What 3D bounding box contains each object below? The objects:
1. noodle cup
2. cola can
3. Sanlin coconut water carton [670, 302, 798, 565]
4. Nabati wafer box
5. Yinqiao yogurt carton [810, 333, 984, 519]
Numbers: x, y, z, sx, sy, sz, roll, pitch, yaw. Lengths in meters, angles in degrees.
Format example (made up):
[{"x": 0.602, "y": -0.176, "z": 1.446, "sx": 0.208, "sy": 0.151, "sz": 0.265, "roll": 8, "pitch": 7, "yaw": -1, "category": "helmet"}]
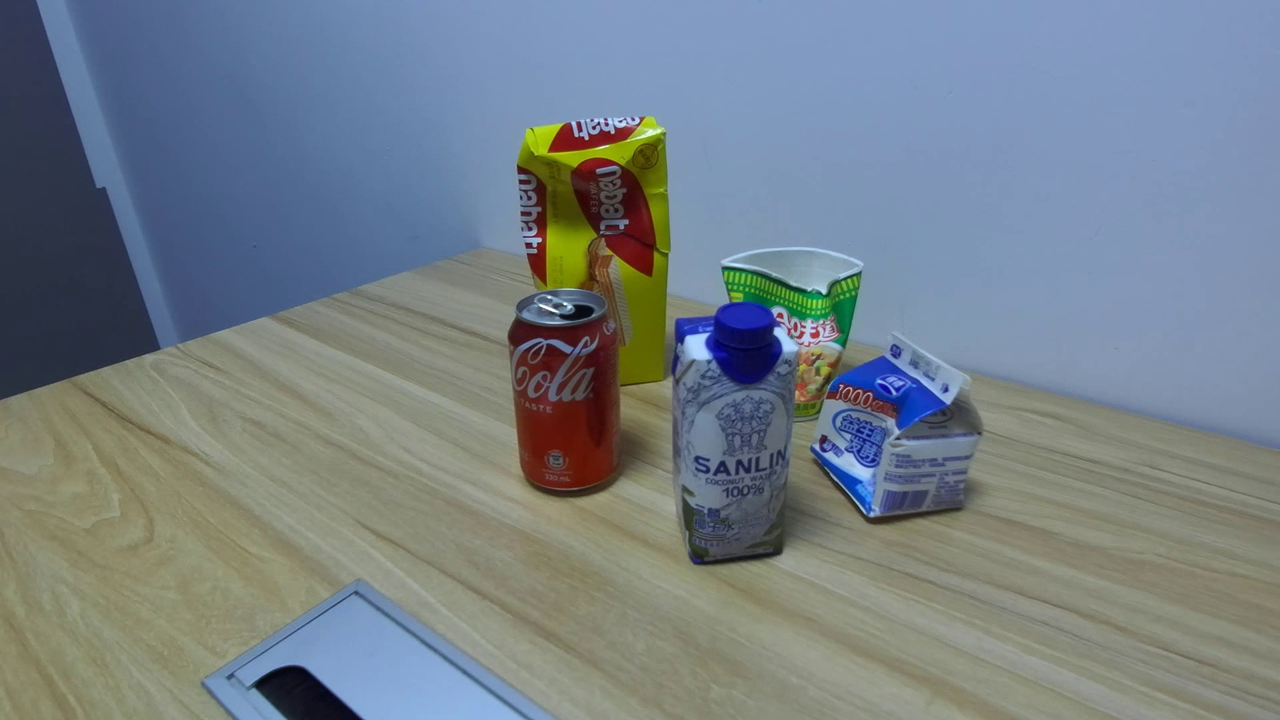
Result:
[{"x": 0.114, "y": -0.020, "z": 0.524, "sx": 0.082, "sy": 0.122, "sz": 0.075, "roll": 12, "pitch": 20, "yaw": 43, "category": "noodle cup"}, {"x": -0.046, "y": 0.019, "z": 0.443, "sx": 0.068, "sy": 0.120, "sz": 0.068, "roll": 0, "pitch": 27, "yaw": 0, "category": "cola can"}, {"x": 0.049, "y": 0.036, "z": 0.376, "sx": 0.061, "sy": 0.144, "sz": 0.060, "roll": -6, "pitch": 26, "yaw": -8, "category": "Sanlin coconut water carton"}, {"x": -0.032, "y": -0.075, "z": 0.534, "sx": 0.107, "sy": 0.204, "sz": 0.042, "roll": -6, "pitch": 27, "yaw": -11, "category": "Nabati wafer box"}, {"x": 0.160, "y": 0.037, "z": 0.430, "sx": 0.071, "sy": 0.094, "sz": 0.077, "roll": -2, "pitch": 26, "yaw": -16, "category": "Yinqiao yogurt carton"}]
